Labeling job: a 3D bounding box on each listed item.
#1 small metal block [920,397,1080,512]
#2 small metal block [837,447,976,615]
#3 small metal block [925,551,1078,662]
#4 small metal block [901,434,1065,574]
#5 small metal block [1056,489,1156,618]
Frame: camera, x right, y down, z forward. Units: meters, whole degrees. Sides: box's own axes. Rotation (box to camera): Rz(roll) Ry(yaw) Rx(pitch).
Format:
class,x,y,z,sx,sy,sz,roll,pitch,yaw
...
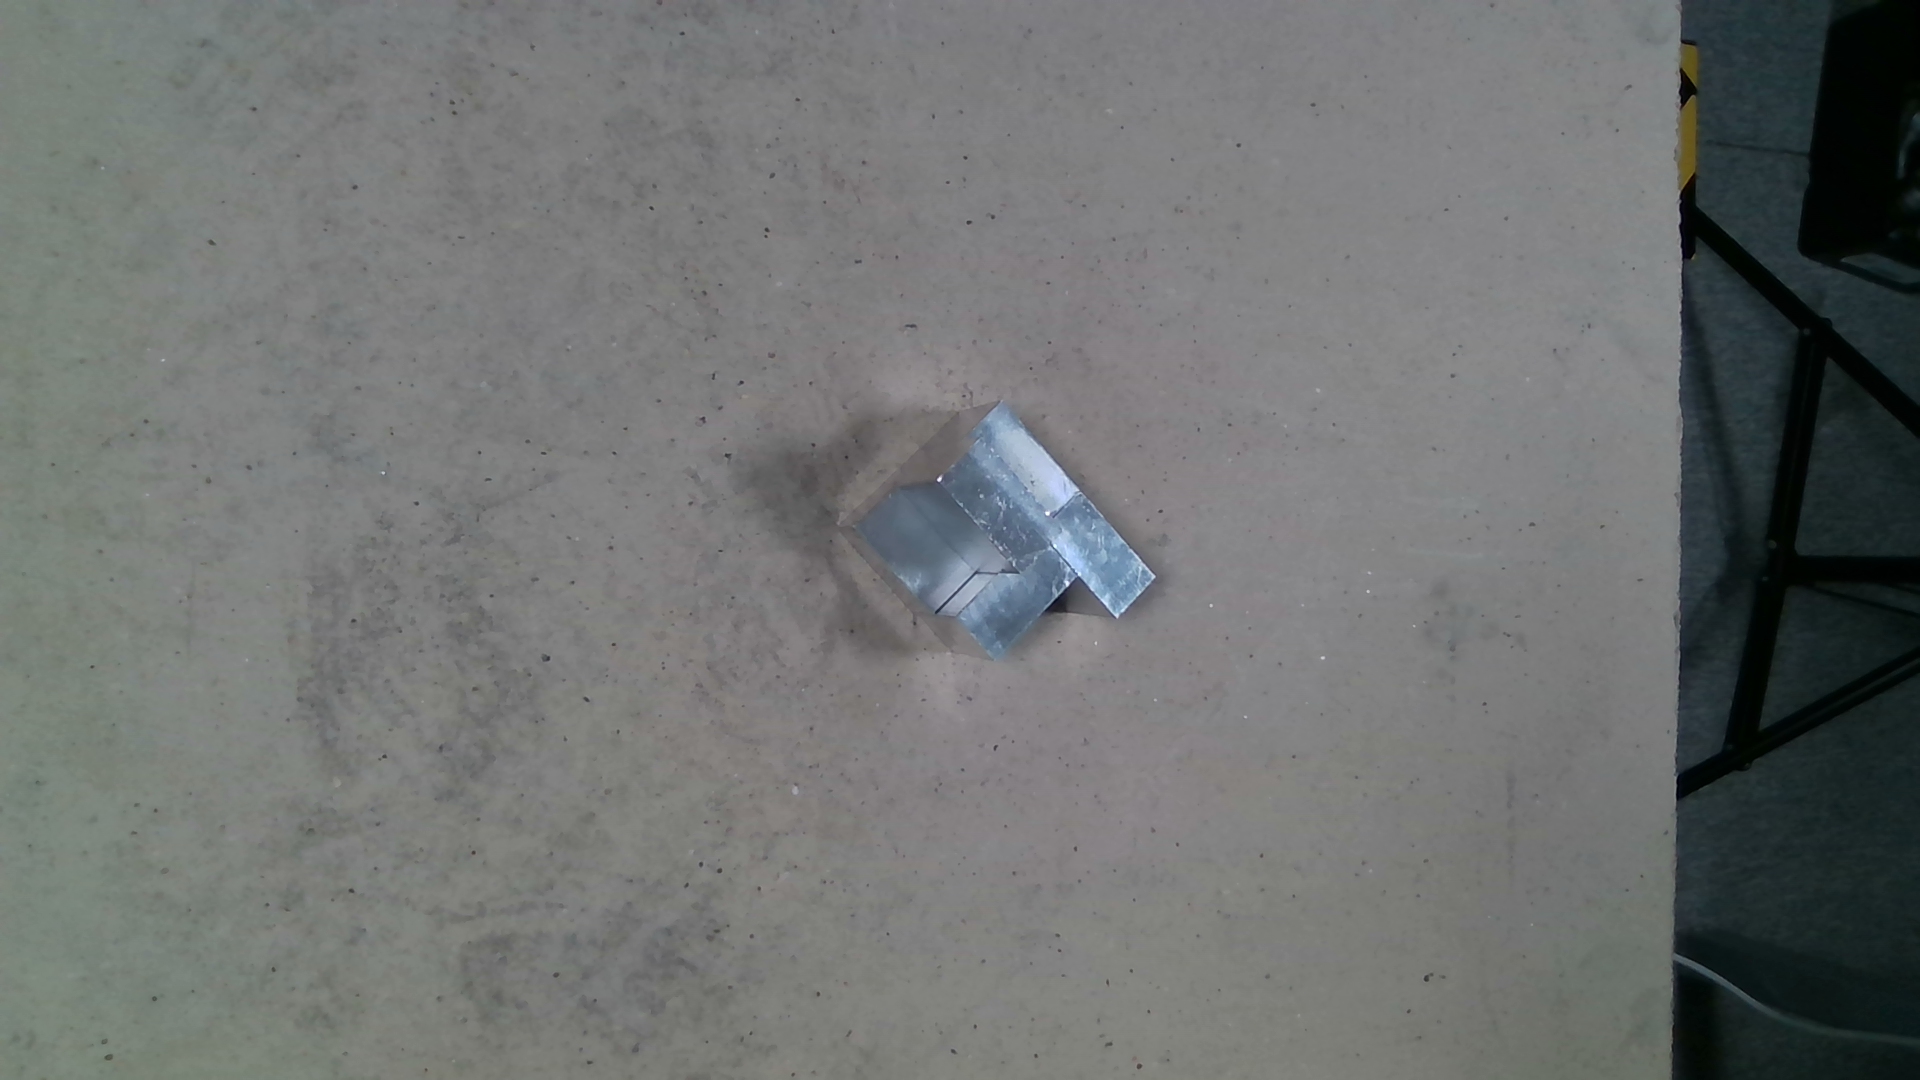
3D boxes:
class,x,y,z,sx,sy,sz,roll,pitch,yaw
small metal block,0.016,-0.030,0.578,0.025,0.050,0.050,-46,104,-15
small metal block,-0.015,-0.004,0.581,0.050,0.025,0.050,-45,104,-15
small metal block,0.015,0.023,0.578,0.050,0.050,0.025,-45,104,-15
small metal block,0.007,-0.014,0.549,0.025,0.050,0.050,-46,104,-15
small metal block,0.049,0.006,0.590,0.025,0.050,0.050,-46,104,-15
